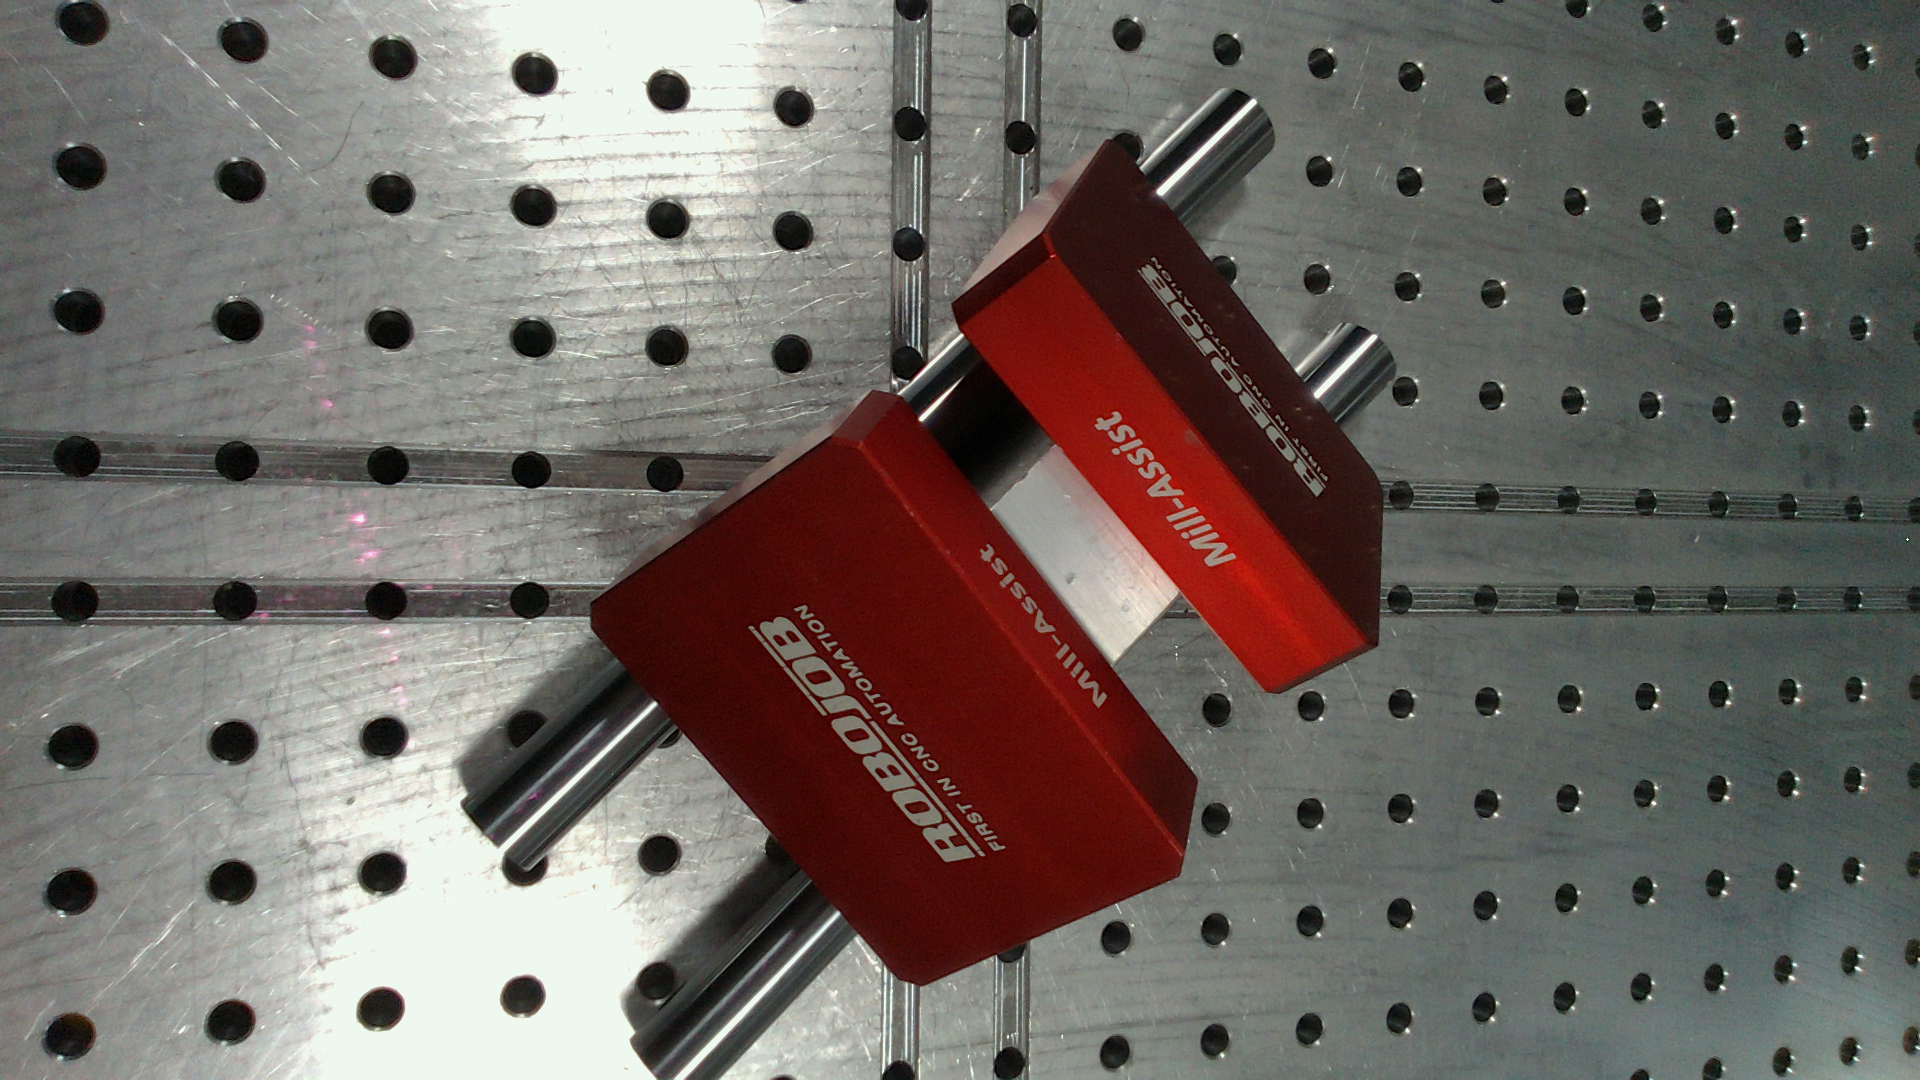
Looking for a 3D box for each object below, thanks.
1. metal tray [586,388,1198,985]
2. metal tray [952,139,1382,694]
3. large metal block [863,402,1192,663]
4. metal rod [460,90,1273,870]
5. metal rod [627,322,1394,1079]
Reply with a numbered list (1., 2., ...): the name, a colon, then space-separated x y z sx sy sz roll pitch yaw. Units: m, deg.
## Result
1. metal tray: -0.015 0.040 0.333 0.090 0.030 0.130 -31 104 27
2. metal tray: 0.061 -0.034 0.360 0.130 0.030 0.090 49 32 -14
3. large metal block: 0.020 0.001 0.373 0.080 0.080 0.050 -44 104 -14
4. metal rod: -0.016 -0.027 0.390 0.300 0.025 0.025 -45 104 -14
5. metal rod: 0.025 0.040 0.405 0.300 0.025 0.025 -44 104 -15
